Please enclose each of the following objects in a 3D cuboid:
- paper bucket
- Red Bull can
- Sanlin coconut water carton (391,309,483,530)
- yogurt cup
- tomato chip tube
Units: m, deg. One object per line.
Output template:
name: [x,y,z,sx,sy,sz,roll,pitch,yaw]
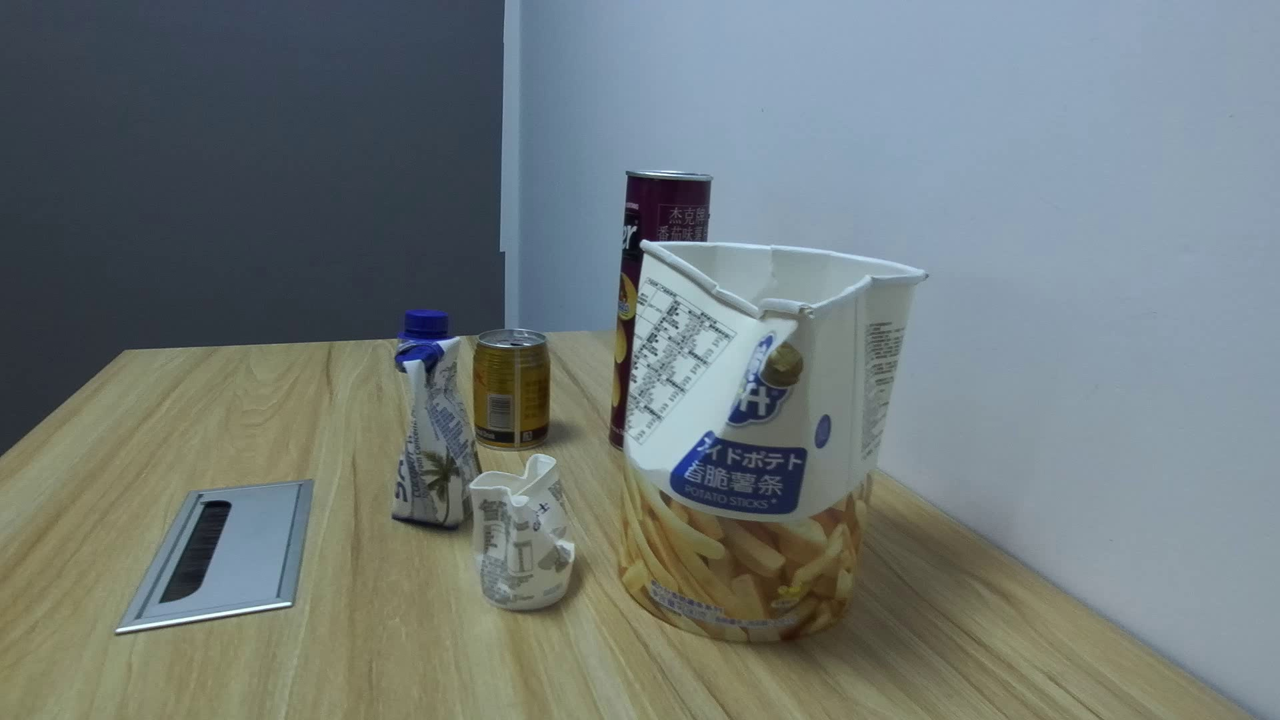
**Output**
paper bucket: [0.058,0.037,0.424,0.162,0.202,0.170,14,18,37]
Red Bull can: [-0.114,0.026,0.625,0.068,0.093,0.068,3,14,0]
Sanlin coconut water carton: [-0.148,0.041,0.480,0.056,0.145,0.068,-1,22,14]
yogurt cup: [-0.068,0.099,0.412,0.055,0.072,0.055,15,21,38]
tomato chip tube: [0.016,-0.037,0.598,0.076,0.234,0.080,7,14,10]
